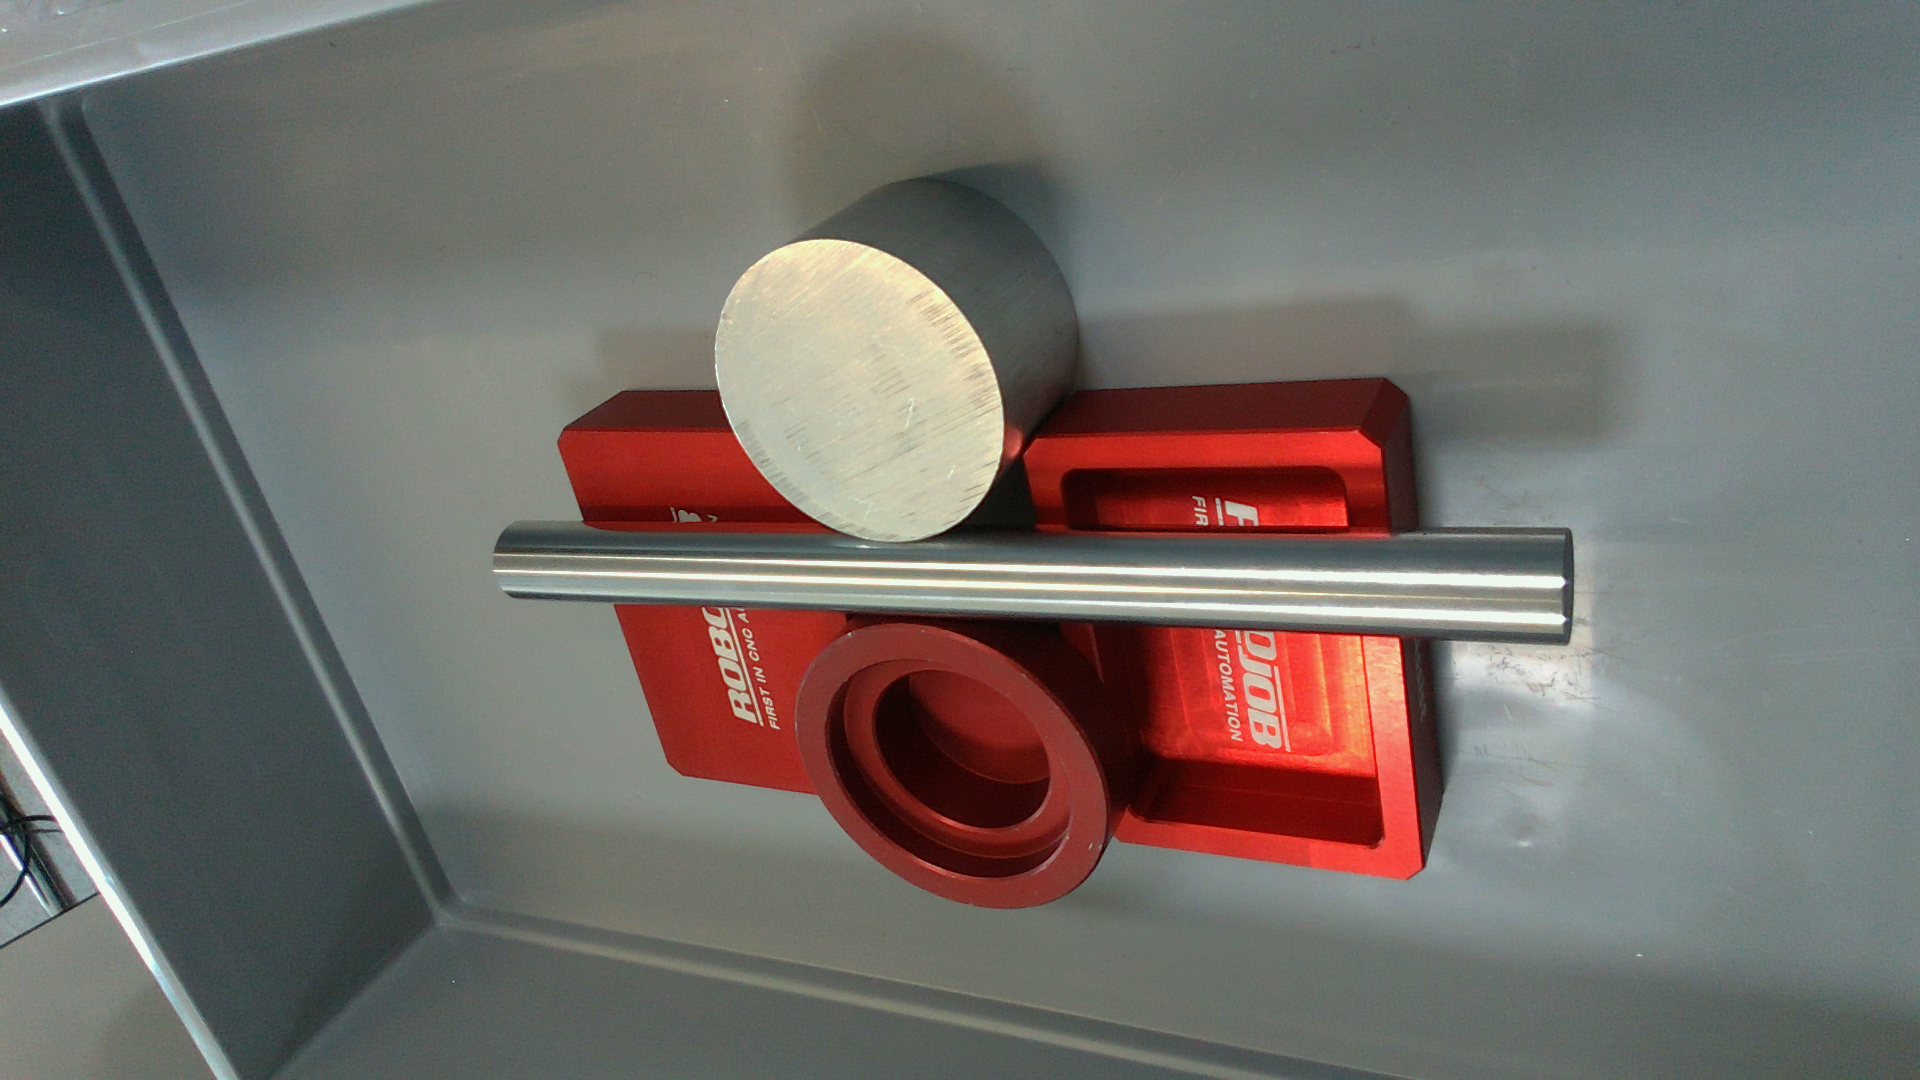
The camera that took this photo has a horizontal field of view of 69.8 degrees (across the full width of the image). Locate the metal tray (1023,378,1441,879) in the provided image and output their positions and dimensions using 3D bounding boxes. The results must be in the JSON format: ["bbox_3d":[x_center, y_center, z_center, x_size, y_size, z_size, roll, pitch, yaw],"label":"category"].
[{"bbox_3d":[0.074,0.025,0.363,0.090,0.030,0.130,1,119,28],"label":"metal tray"}]

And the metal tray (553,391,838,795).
[{"bbox_3d":[-0.066,0.019,0.434,0.090,0.030,0.130,3,120,27],"label":"metal tray"}]

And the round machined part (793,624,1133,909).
[{"bbox_3d":[0.004,0.056,0.401,0.098,0.042,0.098,13,124,21],"label":"round machined part"}]

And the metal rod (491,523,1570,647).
[{"bbox_3d":[-0.004,0.008,0.359,0.299,0.025,0.025,1,119,28],"label":"metal rod"}]

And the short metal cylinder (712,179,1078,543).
[{"bbox_3d":[-0.016,-0.046,0.354,0.080,0.050,0.080,13,124,21],"label":"short metal cylinder"}]
